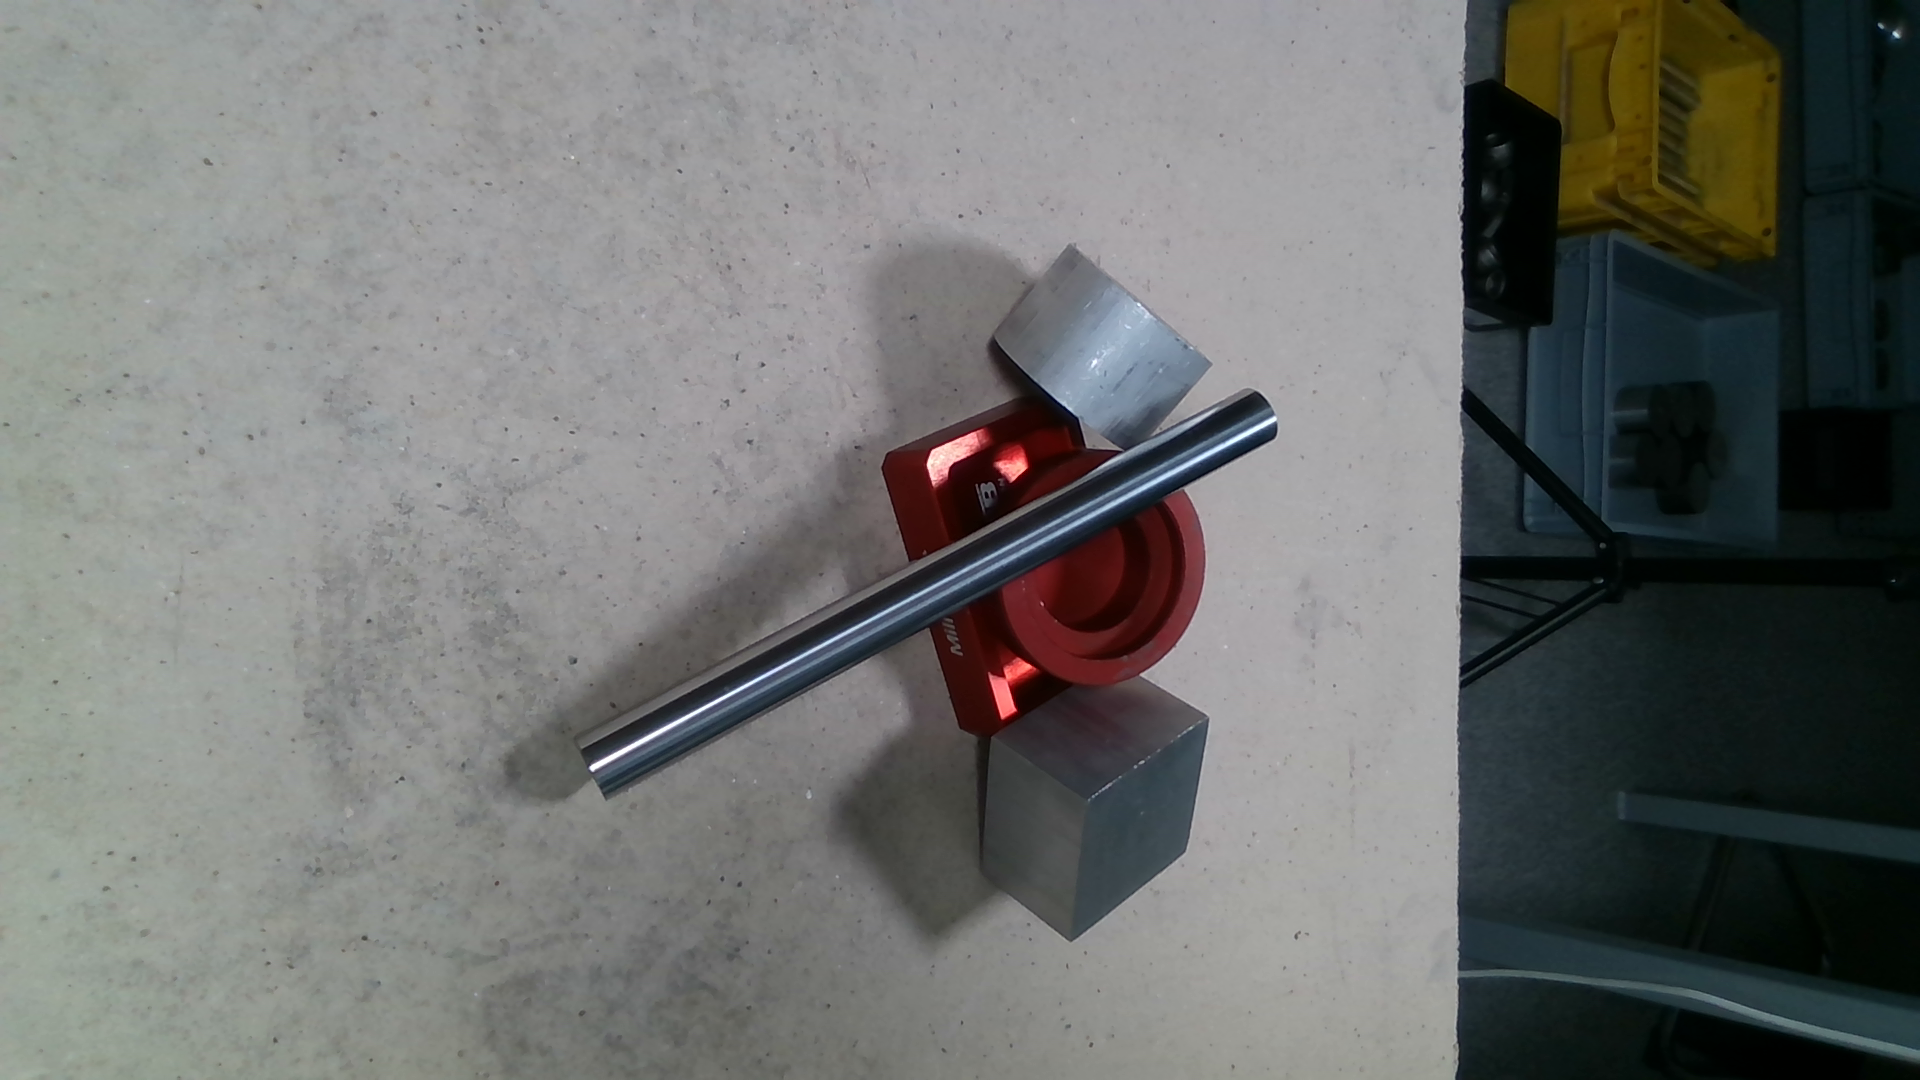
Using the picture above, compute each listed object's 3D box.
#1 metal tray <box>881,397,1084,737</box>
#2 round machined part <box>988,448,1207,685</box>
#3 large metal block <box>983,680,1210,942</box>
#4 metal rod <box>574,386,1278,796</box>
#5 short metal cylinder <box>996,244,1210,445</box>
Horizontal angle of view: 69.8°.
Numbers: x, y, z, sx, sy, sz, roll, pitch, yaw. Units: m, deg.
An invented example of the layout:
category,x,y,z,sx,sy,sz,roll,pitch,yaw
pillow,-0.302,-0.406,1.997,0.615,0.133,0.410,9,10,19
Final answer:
category,x,y,z,sx,sy,sz,roll,pitch,yaw
metal tray,0.025,0.010,0.601,0.090,0.030,0.130,-26,107,-37
round machined part,0.053,0.010,0.585,0.098,0.042,0.098,-2,95,-25
large metal block,0.058,0.111,0.594,0.080,0.050,0.080,-26,132,-37
metal rod,-0.002,0.013,0.524,0.300,0.025,0.025,-27,108,-19
short metal cylinder,0.061,-0.082,0.590,0.080,0.080,0.050,30,107,-36
